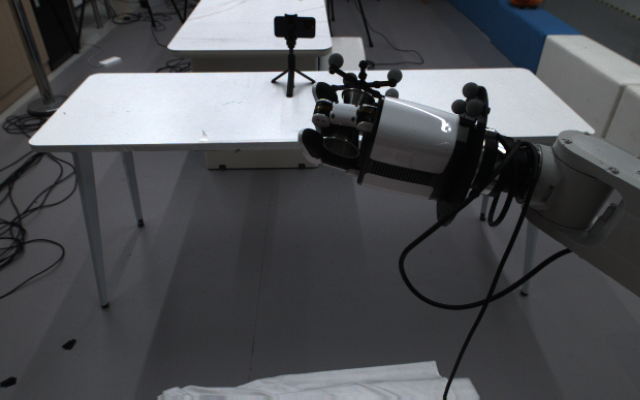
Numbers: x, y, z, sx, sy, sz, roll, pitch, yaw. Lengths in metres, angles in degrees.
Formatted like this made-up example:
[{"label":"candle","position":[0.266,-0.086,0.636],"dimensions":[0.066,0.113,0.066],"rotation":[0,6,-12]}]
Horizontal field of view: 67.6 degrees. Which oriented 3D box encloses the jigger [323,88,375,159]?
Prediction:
[{"label":"jigger","position":[0.037,-0.087,0.553],"dimensions":[0.043,0.043,0.071],"rotation":[12,71,14]}]
